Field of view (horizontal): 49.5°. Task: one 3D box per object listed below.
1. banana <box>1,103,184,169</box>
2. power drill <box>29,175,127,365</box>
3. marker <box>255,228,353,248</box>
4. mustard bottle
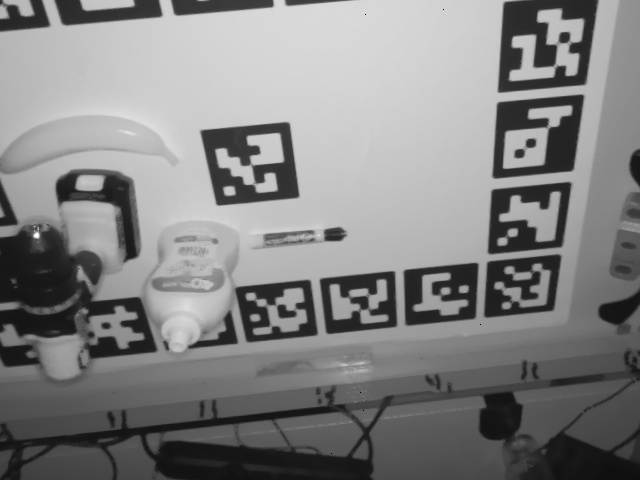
[{"bbox_3d":[-0.253,-0.116,0.769,0.198,0.039,0.073,1,120,-7],"label":"banana"},{"bbox_3d":[-0.253,0.010,0.734,0.057,0.188,0.182,8,124,-5],"label":"power drill"},{"bbox_3d":[-0.020,-0.003,0.865,0.121,0.020,0.019,-3,121,-2],"label":"marker"},{"bbox_3d":[-0.144,0.046,0.784,0.096,0.193,0.058,5,122,-5],"label":"mustard bottle"}]
